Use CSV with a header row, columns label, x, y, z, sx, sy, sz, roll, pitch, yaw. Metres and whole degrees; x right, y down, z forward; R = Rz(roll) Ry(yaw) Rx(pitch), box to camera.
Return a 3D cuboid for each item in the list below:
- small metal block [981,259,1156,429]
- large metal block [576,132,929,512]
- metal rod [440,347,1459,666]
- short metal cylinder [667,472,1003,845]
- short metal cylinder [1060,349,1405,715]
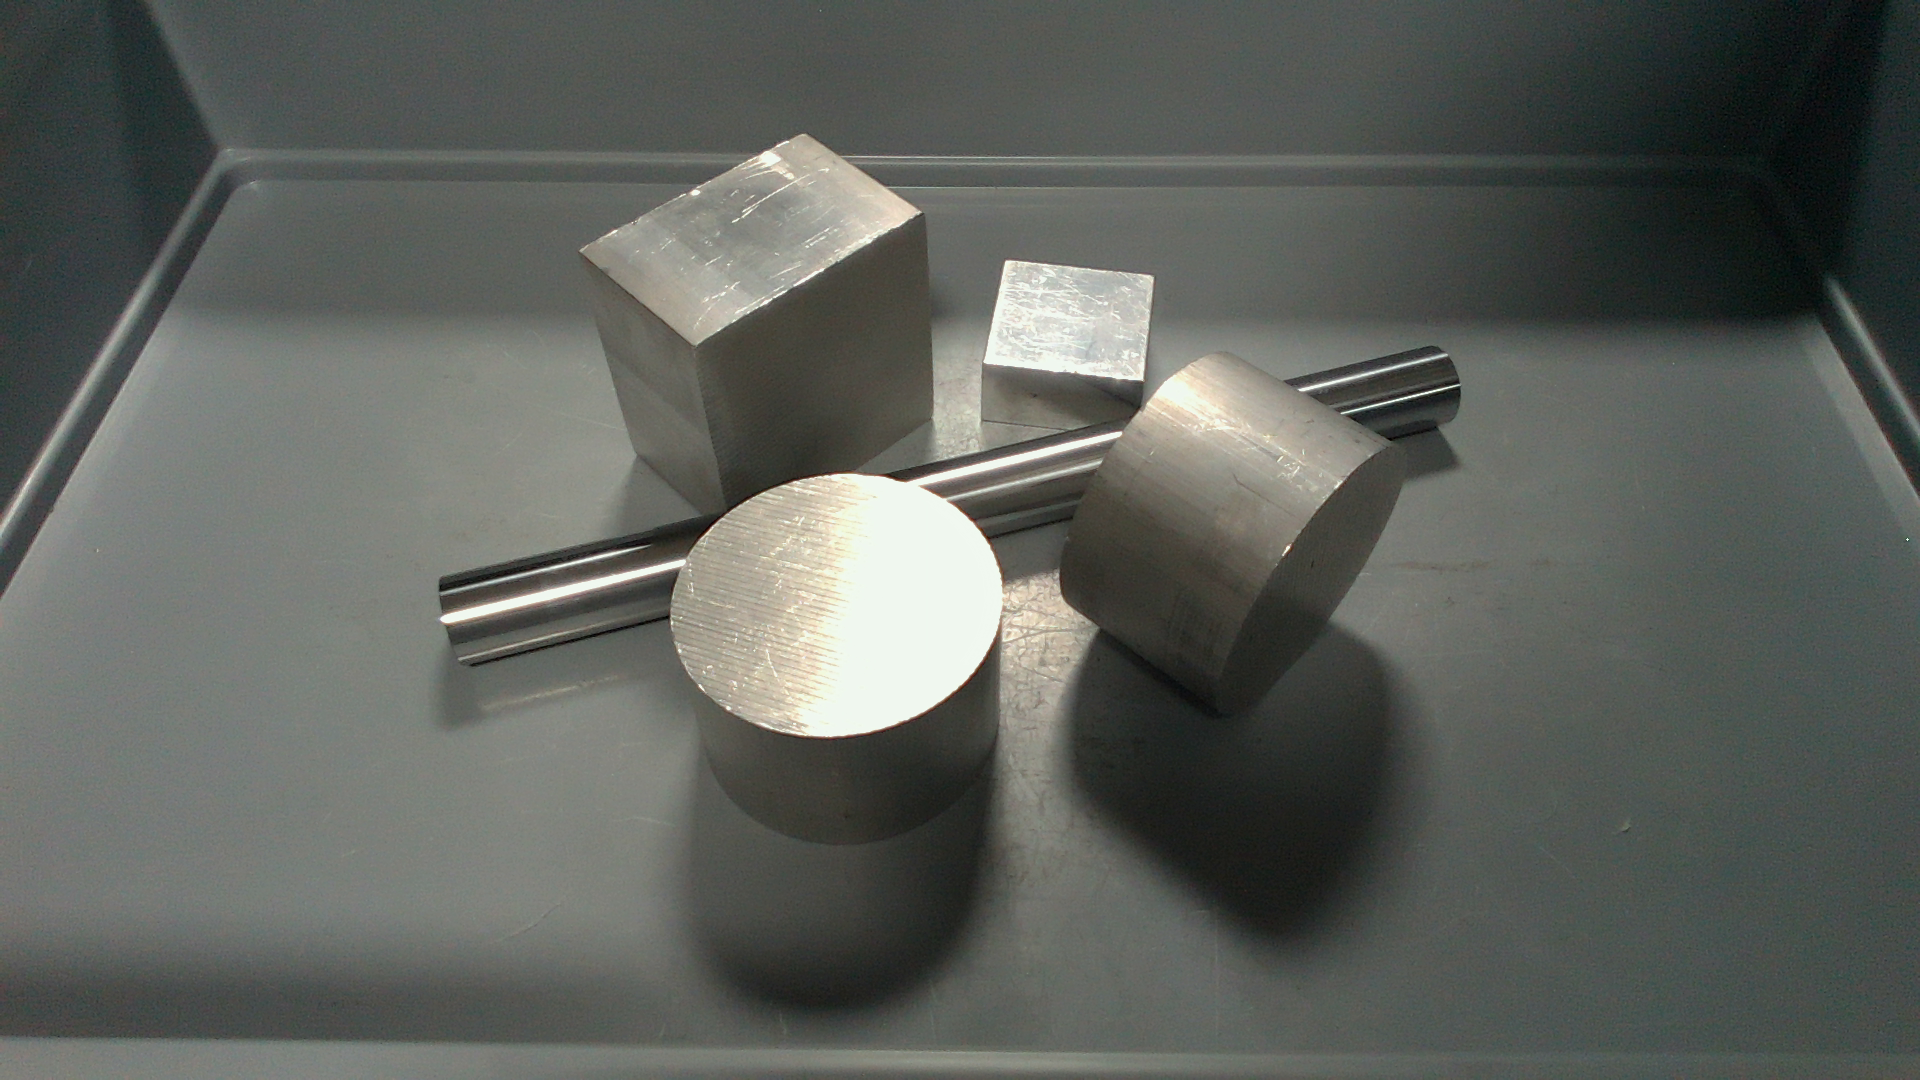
label,x,y,z,sx,sy,sz,roll,pitch,yaw
small metal block,0.035,-0.062,0.443,0.050,0.025,0.050,7,50,6
large metal block,-0.056,-0.059,0.405,0.080,0.080,0.050,-36,58,-26
metal rod,0.006,-0.013,0.402,0.300,0.025,0.025,-14,51,-11
short metal cylinder,-0.030,0.029,0.349,0.080,0.050,0.080,0,50,0
short metal cylinder,0.071,-0.002,0.356,0.050,0.080,0.080,35,58,26
